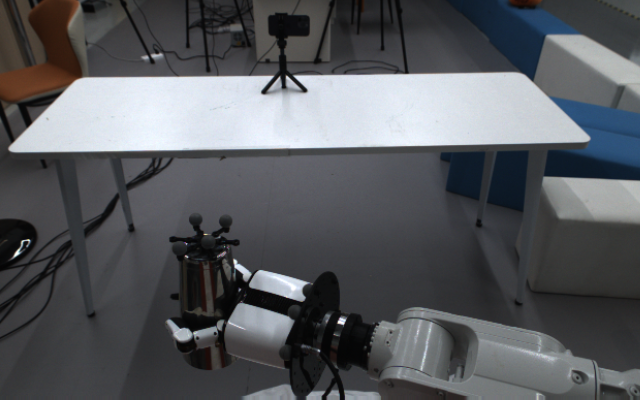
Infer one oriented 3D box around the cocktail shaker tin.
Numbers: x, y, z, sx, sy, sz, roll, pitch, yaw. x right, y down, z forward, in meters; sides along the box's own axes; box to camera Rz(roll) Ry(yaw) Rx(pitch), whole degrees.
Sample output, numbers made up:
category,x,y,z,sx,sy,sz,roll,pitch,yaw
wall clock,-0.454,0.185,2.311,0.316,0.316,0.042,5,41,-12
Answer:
category,x,y,z,sx,sy,sz,roll,pitch,yaw
cocktail shaker tin,-0.147,0.135,0.657,0.093,0.170,0.093,2,28,-1
